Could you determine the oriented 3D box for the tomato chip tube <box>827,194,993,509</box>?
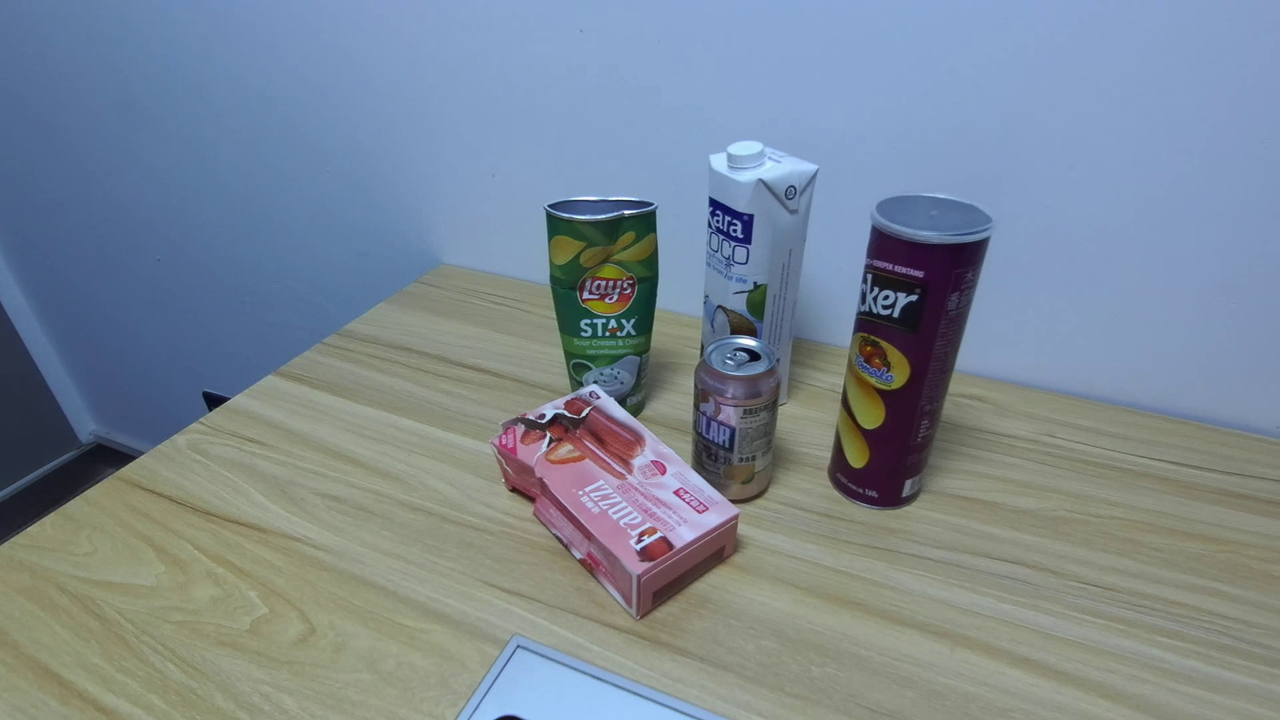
[{"bbox_3d":[0.195,0.003,0.526,0.078,0.234,0.078,-1,34,1],"label":"tomato chip tube"}]

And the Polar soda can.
[{"bbox_3d":[0.076,0.047,0.560,0.067,0.126,0.067,-2,33,2],"label":"Polar soda can"}]

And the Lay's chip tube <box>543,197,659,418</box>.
[{"bbox_3d":[-0.029,-0.042,0.624,0.075,0.200,0.068,-26,41,-31],"label":"Lay's chip tube"}]

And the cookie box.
[{"bbox_3d":[-0.021,0.098,0.542,0.105,0.059,0.185,-27,43,-31],"label":"cookie box"}]

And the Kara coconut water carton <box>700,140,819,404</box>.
[{"bbox_3d":[0.098,-0.069,0.622,0.075,0.245,0.076,-17,37,-25],"label":"Kara coconut water carton"}]
